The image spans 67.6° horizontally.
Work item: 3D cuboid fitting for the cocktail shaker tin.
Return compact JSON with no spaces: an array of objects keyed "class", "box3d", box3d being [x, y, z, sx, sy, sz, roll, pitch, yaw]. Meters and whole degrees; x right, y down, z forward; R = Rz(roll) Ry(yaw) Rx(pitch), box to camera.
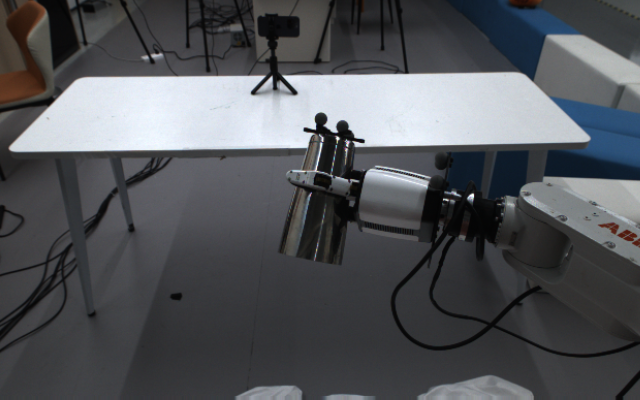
[{"class":"cocktail shaker tin","box3d":[0.003,-0.001,0.680,0.093,0.170,0.093,11,-5,1]}]
